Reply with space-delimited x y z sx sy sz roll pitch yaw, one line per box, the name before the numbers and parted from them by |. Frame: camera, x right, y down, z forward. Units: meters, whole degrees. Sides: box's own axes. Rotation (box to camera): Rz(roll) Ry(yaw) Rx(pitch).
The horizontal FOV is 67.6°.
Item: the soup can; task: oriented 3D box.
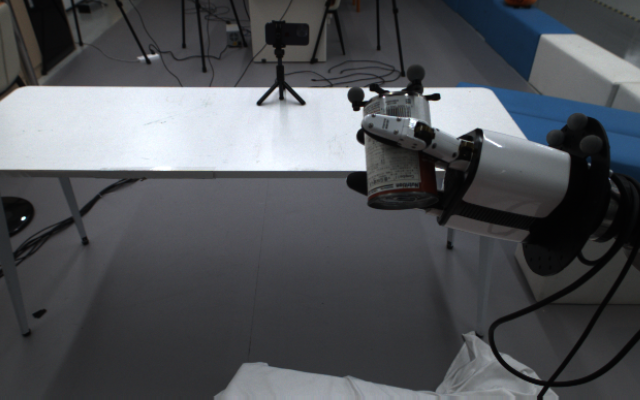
soup can | 0.081 -0.048 0.478 0.067 0.067 0.101 -2 76 -6
